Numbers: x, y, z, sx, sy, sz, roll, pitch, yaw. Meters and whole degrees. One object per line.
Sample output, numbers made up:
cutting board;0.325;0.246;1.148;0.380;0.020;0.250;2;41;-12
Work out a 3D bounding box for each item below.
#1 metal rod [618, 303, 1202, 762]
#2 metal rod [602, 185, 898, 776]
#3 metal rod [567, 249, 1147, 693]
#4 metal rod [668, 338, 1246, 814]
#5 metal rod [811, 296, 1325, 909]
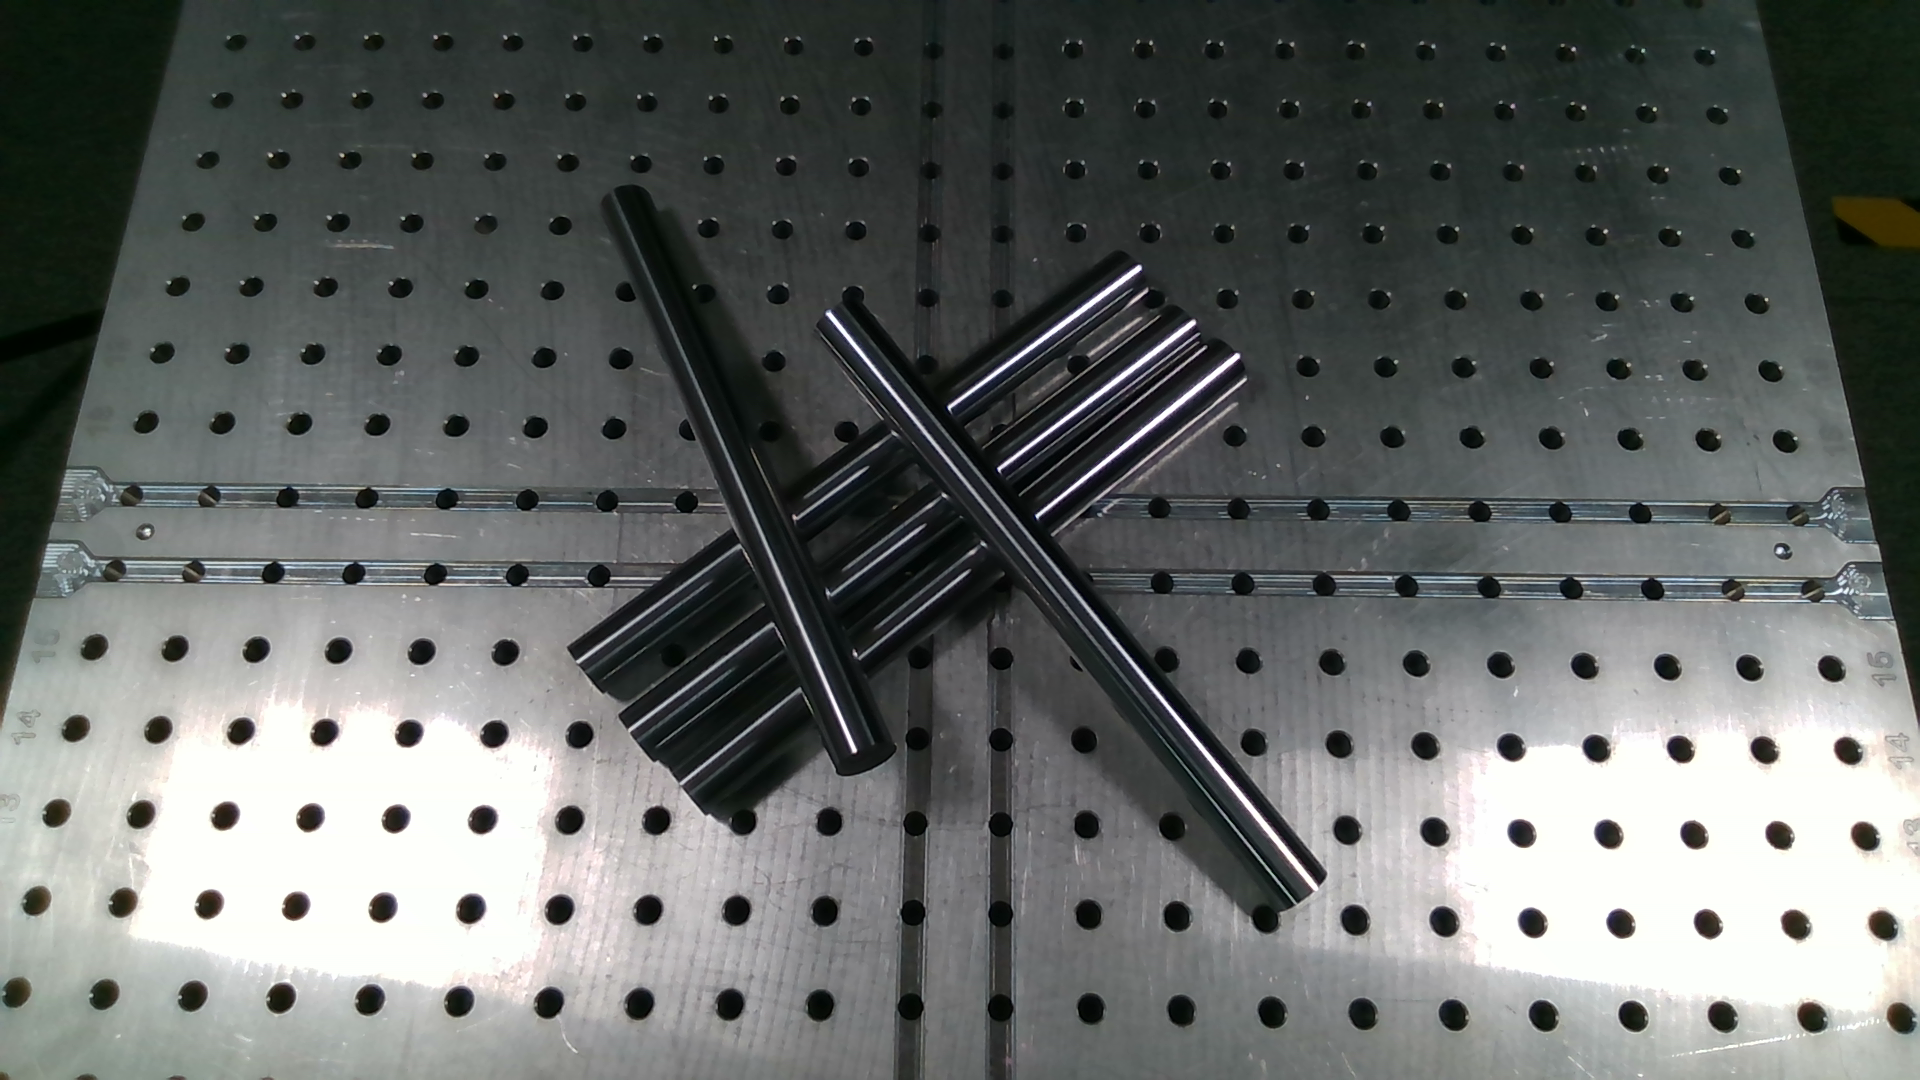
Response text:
metal rod;-0.015;-0.008;0.593;0.300;0.025;0.025;-37;74;-12
metal rod;-0.096;-0.037;0.582;0.025;0.025;0.299;-23;64;-8
metal rod;-0.039;-0.035;0.603;0.300;0.025;0.025;-37;74;-12
metal rod;0.005;0.010;0.587;0.300;0.025;0.025;-38;75;-13
metal rod;0.040;0.021;0.561;0.025;0.025;0.300;-37;82;-12
